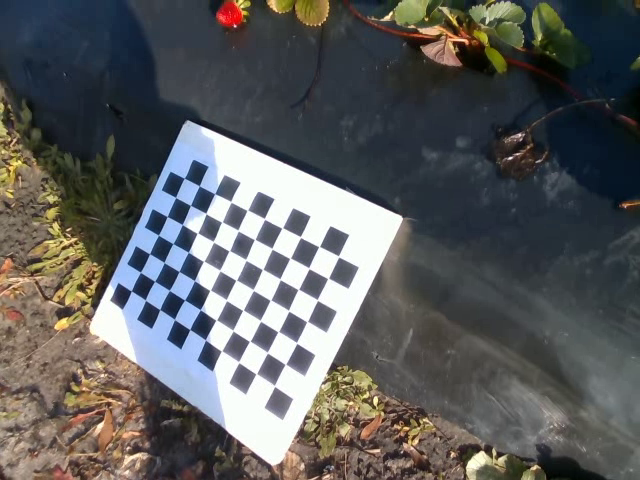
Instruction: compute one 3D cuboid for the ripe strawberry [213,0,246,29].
[{"bbox_3d":[-0.089,-0.221,0.606,0.028,0.031,0.041,-2,23,26],"label":"ripe strawberry"}]
